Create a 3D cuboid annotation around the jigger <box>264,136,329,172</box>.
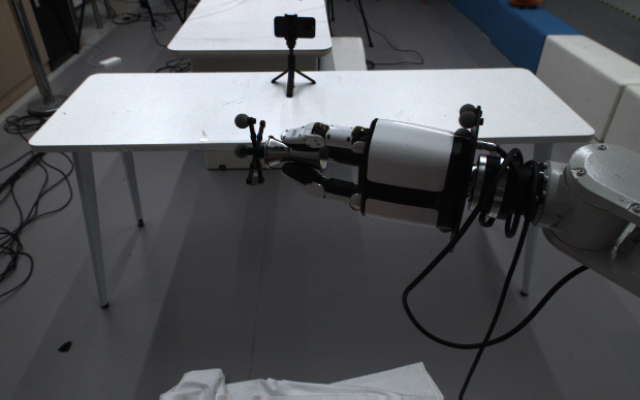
[{"bbox_3d":[-0.020,-0.059,0.578,0.071,0.043,0.043,3,34,13],"label":"jigger"}]
